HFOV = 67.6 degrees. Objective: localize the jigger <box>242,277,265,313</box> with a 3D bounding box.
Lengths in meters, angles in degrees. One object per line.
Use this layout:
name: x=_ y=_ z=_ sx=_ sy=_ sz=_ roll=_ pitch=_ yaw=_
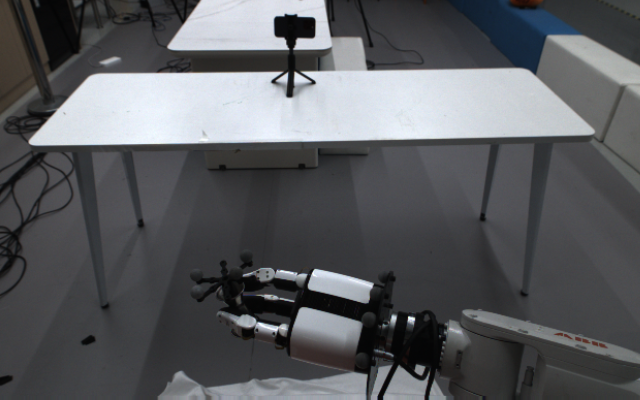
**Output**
jigger: x=-0.109 y=0.147 z=0.657 sx=0.043 sy=0.071 sz=0.043 roll=-12 pitch=29 yaw=7
